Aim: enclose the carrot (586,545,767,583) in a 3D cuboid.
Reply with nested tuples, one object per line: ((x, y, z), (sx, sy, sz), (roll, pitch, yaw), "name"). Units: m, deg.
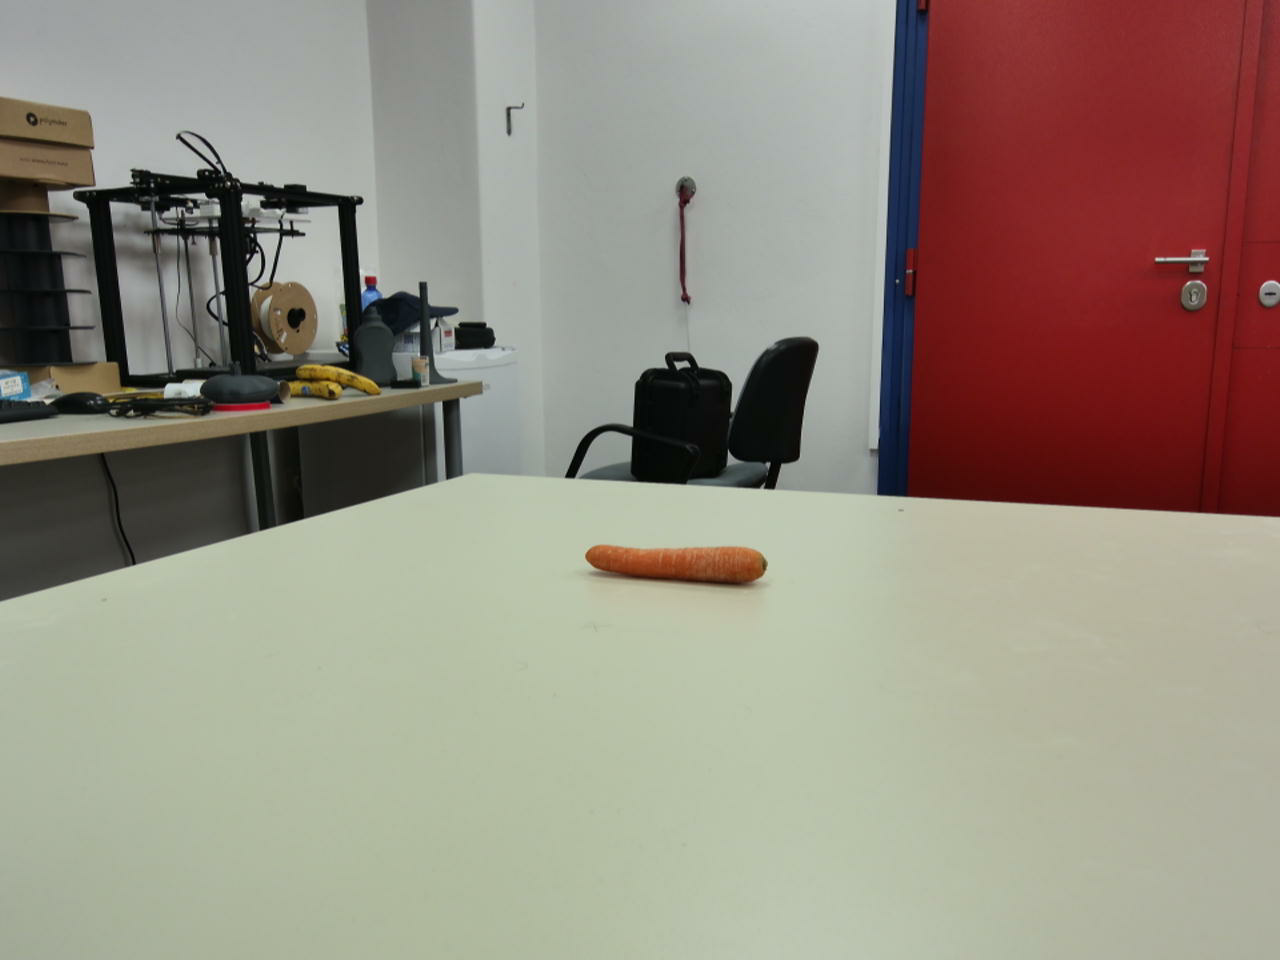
((0.022, 0.052, 0.652), (0.122, 0.023, 0.024), (3, 8, 20), "carrot")
